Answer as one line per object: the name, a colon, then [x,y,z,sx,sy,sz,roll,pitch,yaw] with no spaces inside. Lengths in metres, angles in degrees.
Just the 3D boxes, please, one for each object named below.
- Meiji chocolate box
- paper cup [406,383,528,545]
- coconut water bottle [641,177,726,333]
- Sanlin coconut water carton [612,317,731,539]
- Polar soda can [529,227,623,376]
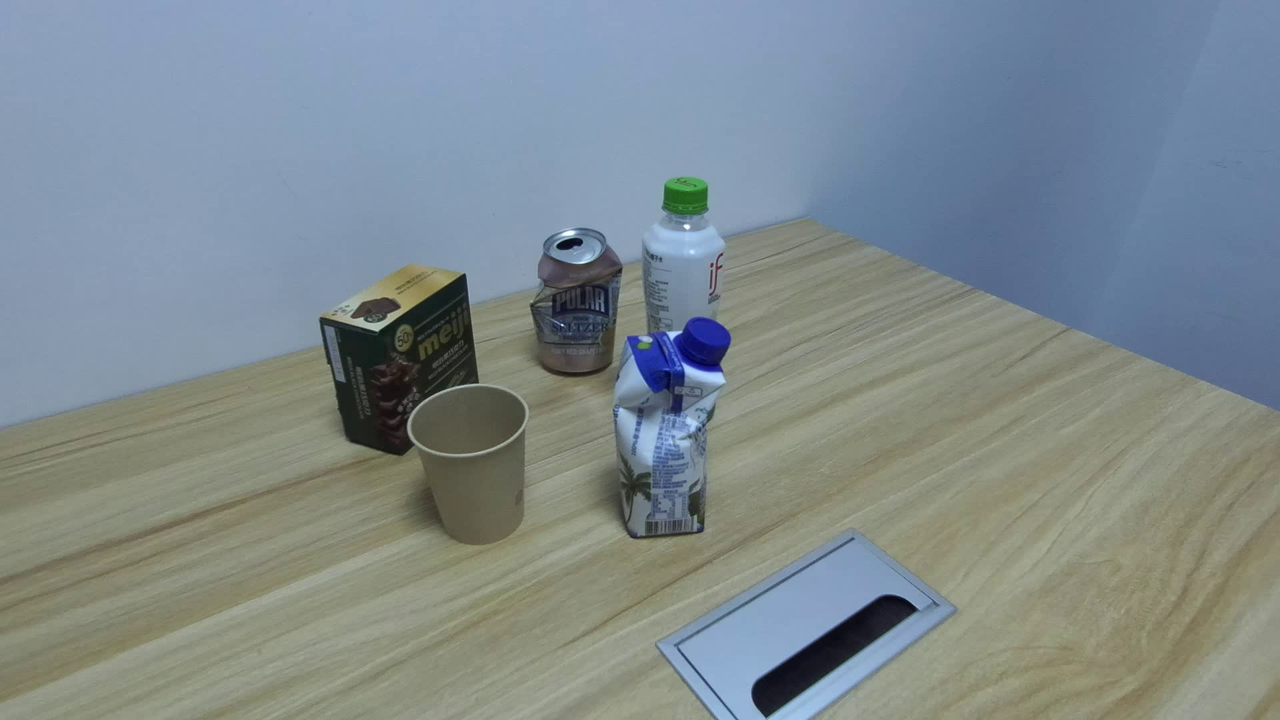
Meiji chocolate box: [-0.182,-0.003,0.552,0.056,0.109,0.110,12,33,18]
paper cup: [-0.105,0.071,0.455,0.075,0.082,0.075,1,32,0]
coconut water bottle: [0.031,-0.038,0.528,0.063,0.189,0.063,2,28,0]
Sanlin coconut water carton: [0.017,0.042,0.442,0.070,0.144,0.060,-2,32,-7]
Polar soda can: [-0.056,-0.046,0.613,0.071,0.122,0.066,-25,43,-37]
